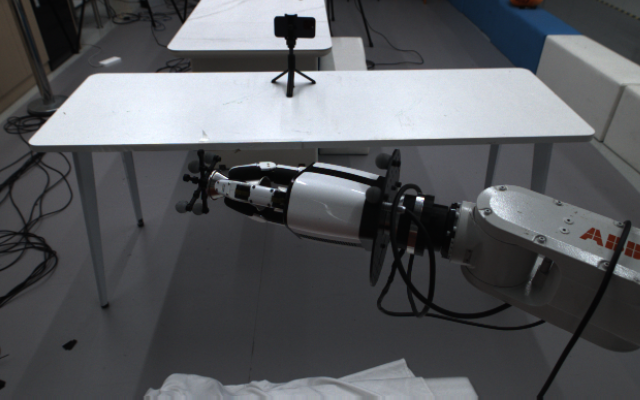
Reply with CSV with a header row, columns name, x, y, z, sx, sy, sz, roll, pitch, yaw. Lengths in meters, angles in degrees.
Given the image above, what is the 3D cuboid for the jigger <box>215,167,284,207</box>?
name,x,y,z,sx,sy,sz,roll,pitch,yaw
jigger,-0.097,-0.018,0.601,0.071,0.043,0.043,10,35,16
